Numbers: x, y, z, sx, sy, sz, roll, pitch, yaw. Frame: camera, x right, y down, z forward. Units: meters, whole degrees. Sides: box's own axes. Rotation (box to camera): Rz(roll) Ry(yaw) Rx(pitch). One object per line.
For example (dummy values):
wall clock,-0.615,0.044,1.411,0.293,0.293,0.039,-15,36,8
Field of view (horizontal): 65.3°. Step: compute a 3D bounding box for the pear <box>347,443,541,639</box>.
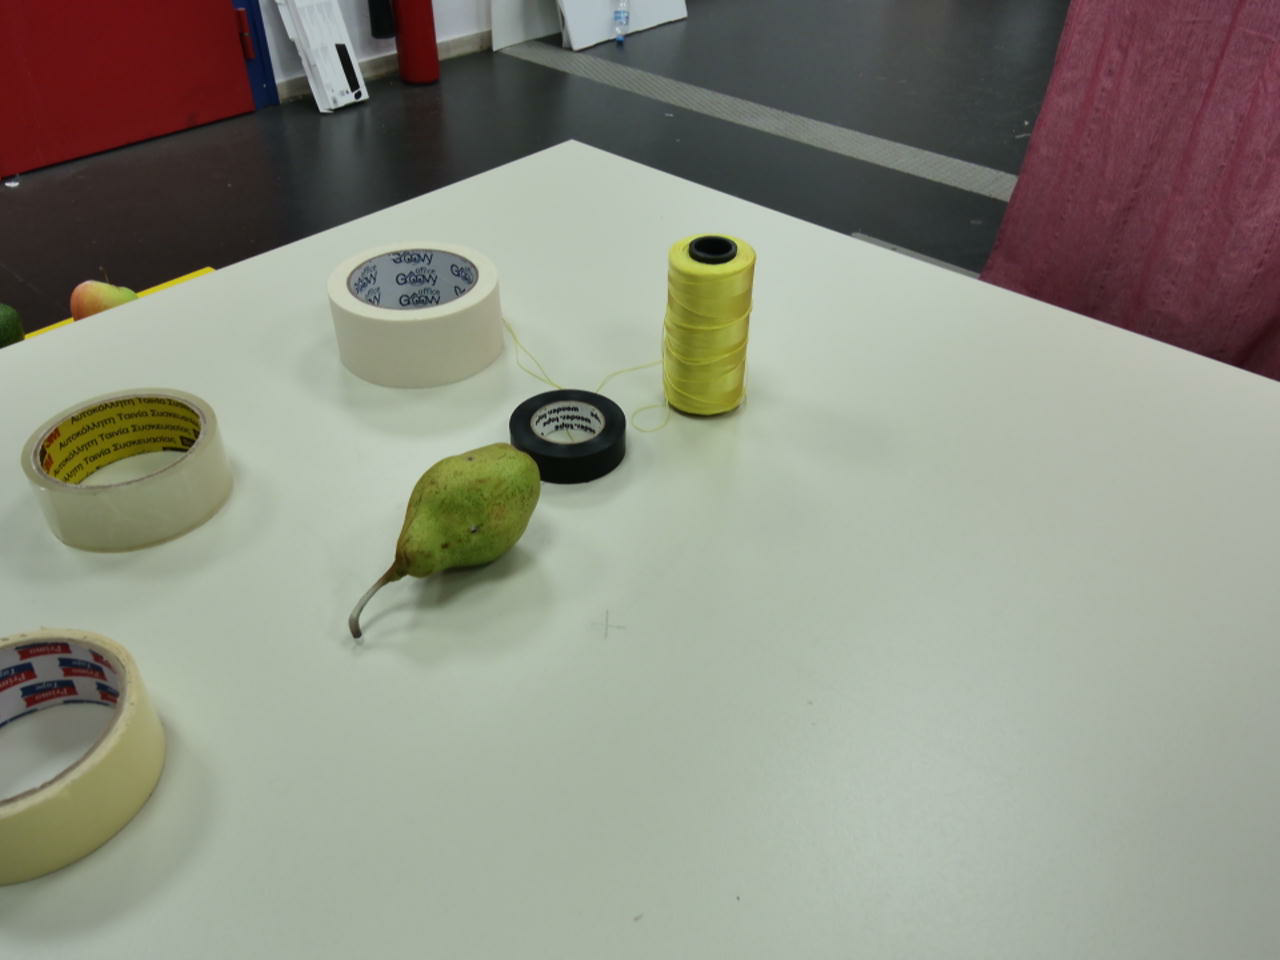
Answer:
pear,-0.099,0.020,0.477,0.111,0.056,0.056,-22,43,-28
